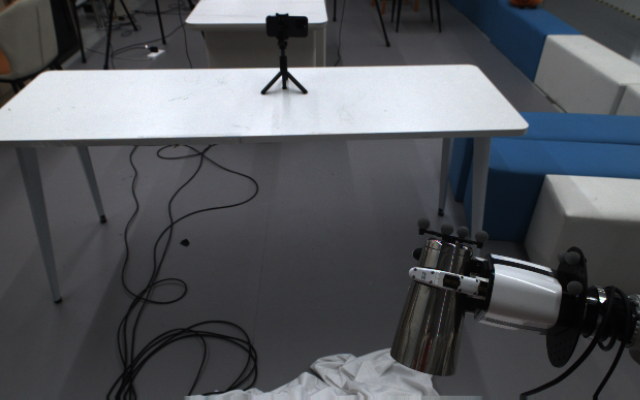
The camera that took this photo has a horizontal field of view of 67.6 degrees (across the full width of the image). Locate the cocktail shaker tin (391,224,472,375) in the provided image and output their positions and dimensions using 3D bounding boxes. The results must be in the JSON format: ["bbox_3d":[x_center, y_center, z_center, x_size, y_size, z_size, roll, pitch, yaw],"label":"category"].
[{"bbox_3d":[0.165,0.139,0.674,0.093,0.170,0.093,13,1,0],"label":"cocktail shaker tin"}]
